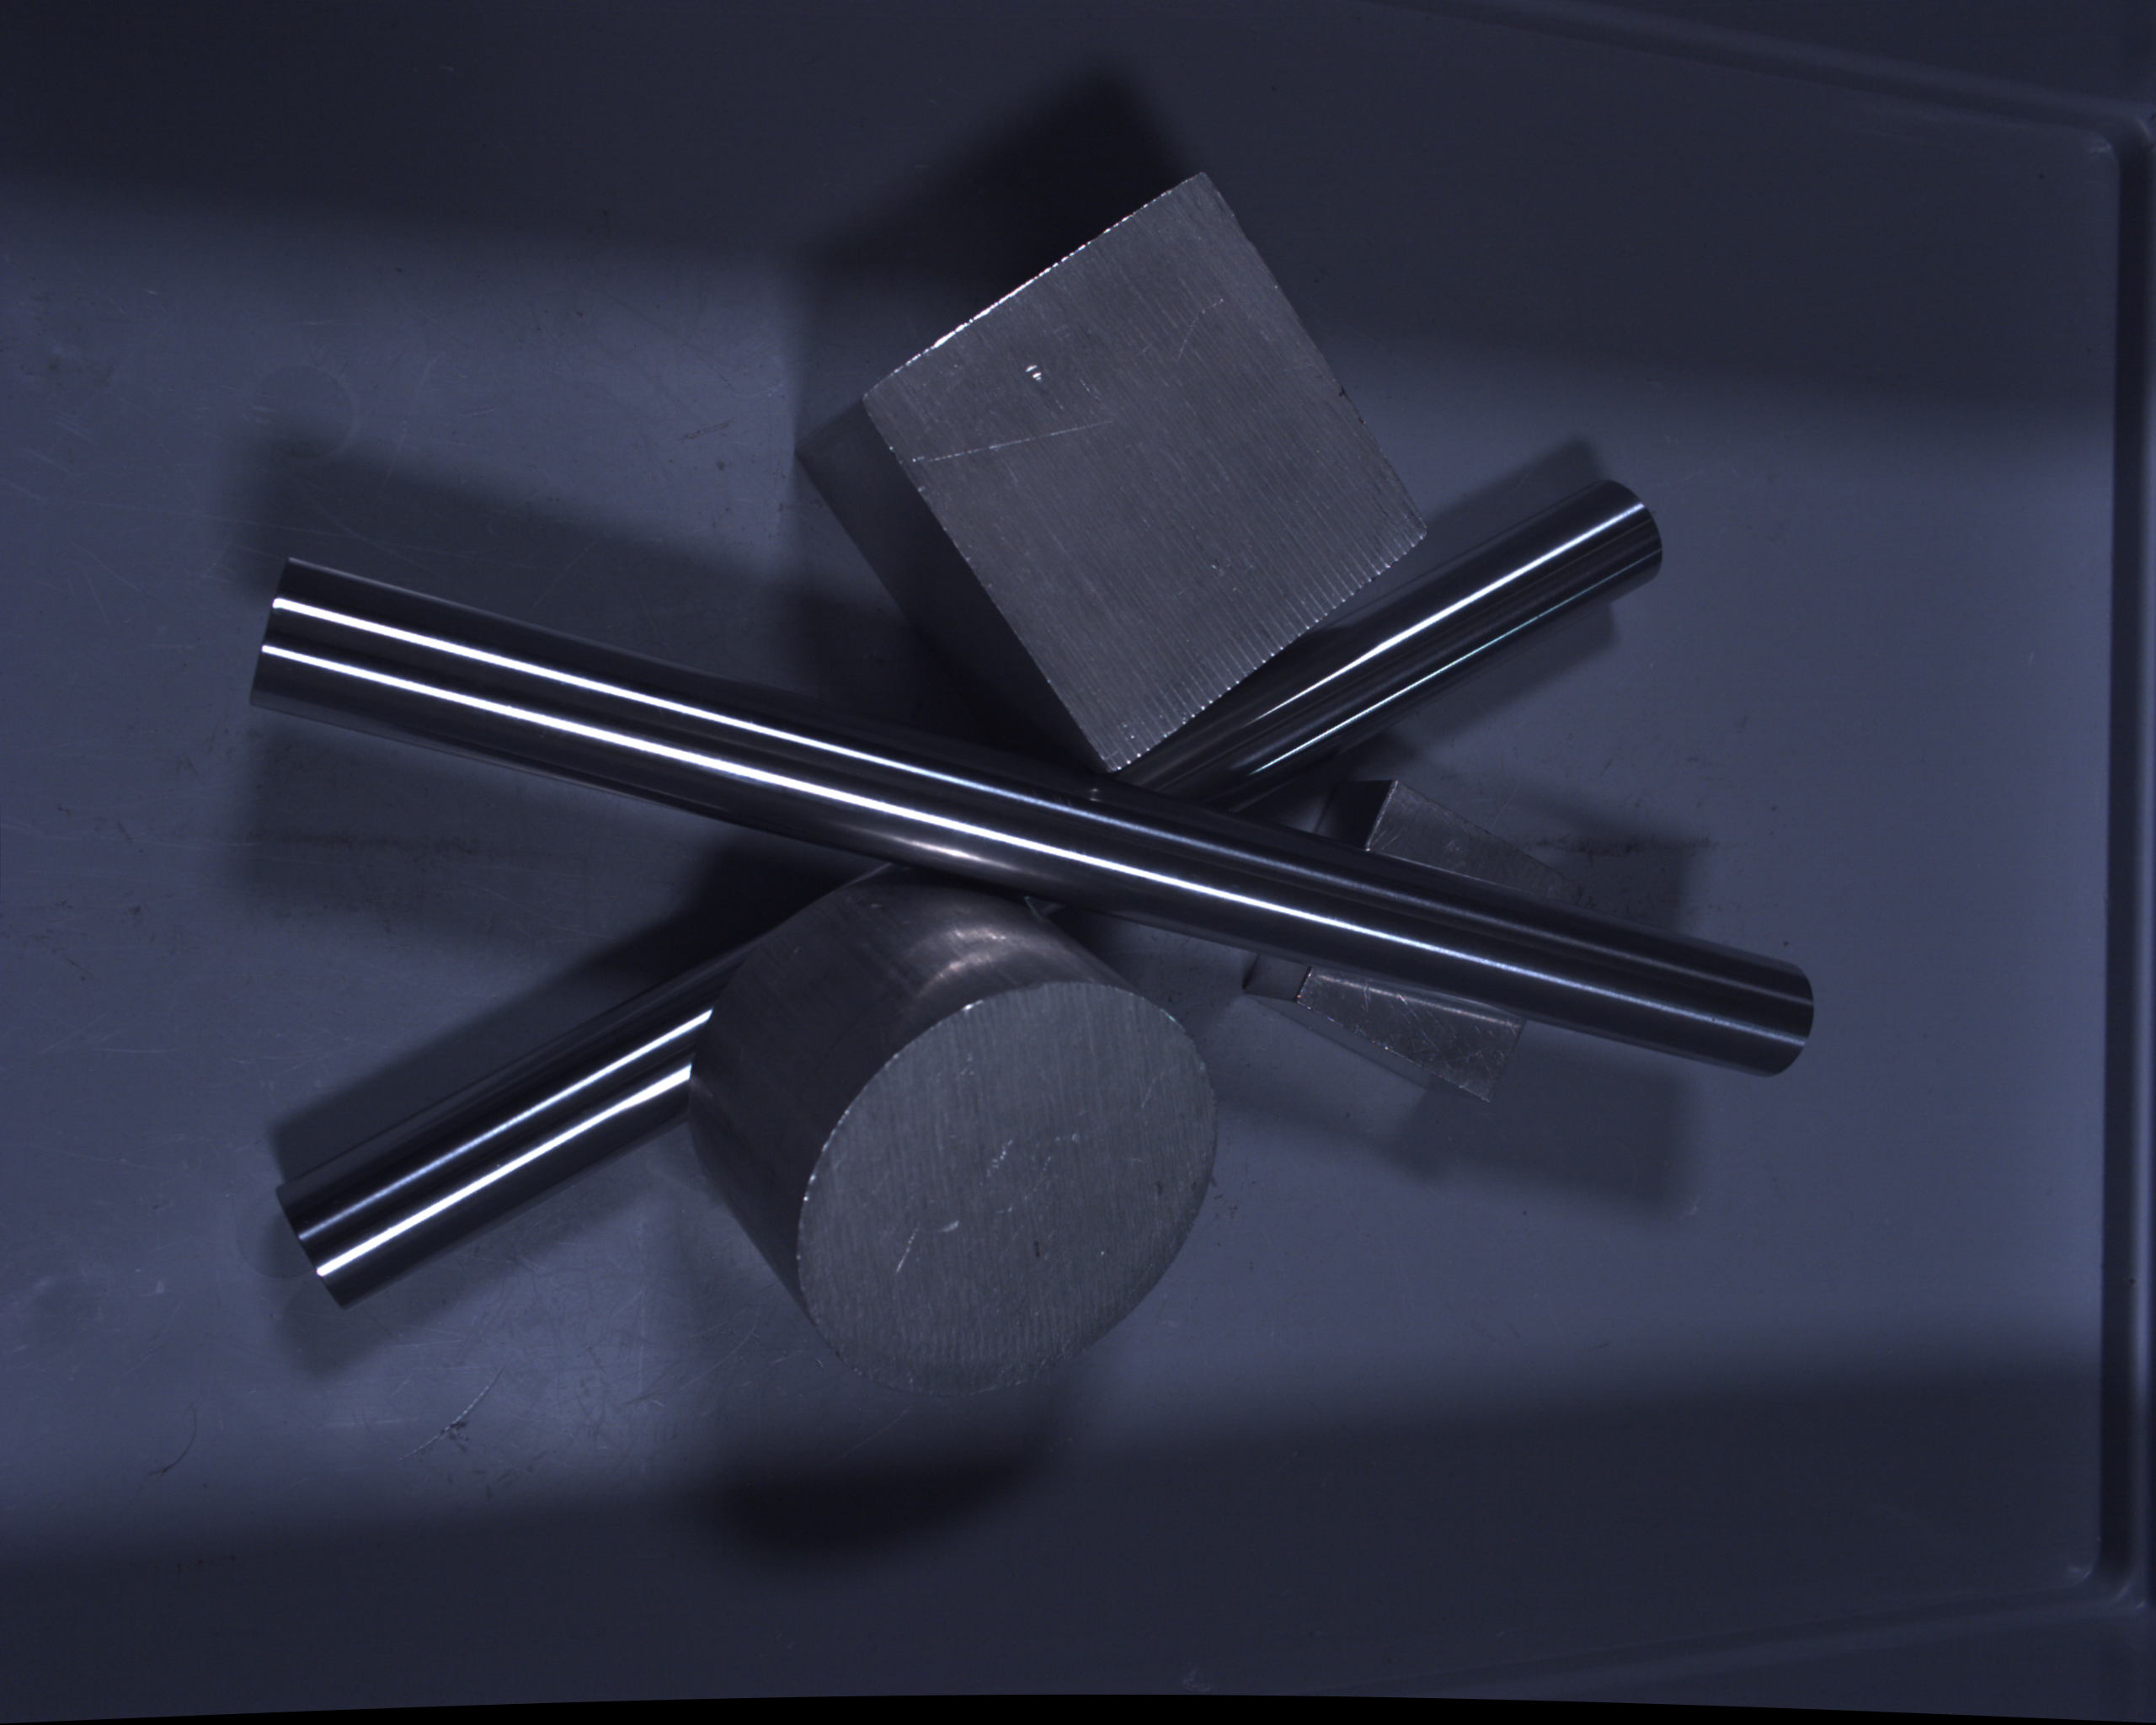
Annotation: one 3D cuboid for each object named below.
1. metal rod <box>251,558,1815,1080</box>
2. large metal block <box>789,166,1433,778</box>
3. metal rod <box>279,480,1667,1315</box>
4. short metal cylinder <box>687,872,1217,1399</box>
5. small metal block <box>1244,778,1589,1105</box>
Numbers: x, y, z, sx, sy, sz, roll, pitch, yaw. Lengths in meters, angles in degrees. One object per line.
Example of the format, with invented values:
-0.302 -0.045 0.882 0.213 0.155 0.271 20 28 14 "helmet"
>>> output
0.008 -0.002 0.386 0.302 0.025 0.025 14 85 -20 "metal rod"
0.006 -0.071 0.398 0.080 0.050 0.080 -38 103 -16 "large metal block"
-0.006 -0.002 0.407 0.302 0.025 0.025 -29 100 -18 "metal rod"
-0.023 0.047 0.373 0.081 0.050 0.079 -14 119 -27 "short metal cylinder"
0.071 0.016 0.435 0.050 0.025 0.050 28 81 -18 "small metal block"
